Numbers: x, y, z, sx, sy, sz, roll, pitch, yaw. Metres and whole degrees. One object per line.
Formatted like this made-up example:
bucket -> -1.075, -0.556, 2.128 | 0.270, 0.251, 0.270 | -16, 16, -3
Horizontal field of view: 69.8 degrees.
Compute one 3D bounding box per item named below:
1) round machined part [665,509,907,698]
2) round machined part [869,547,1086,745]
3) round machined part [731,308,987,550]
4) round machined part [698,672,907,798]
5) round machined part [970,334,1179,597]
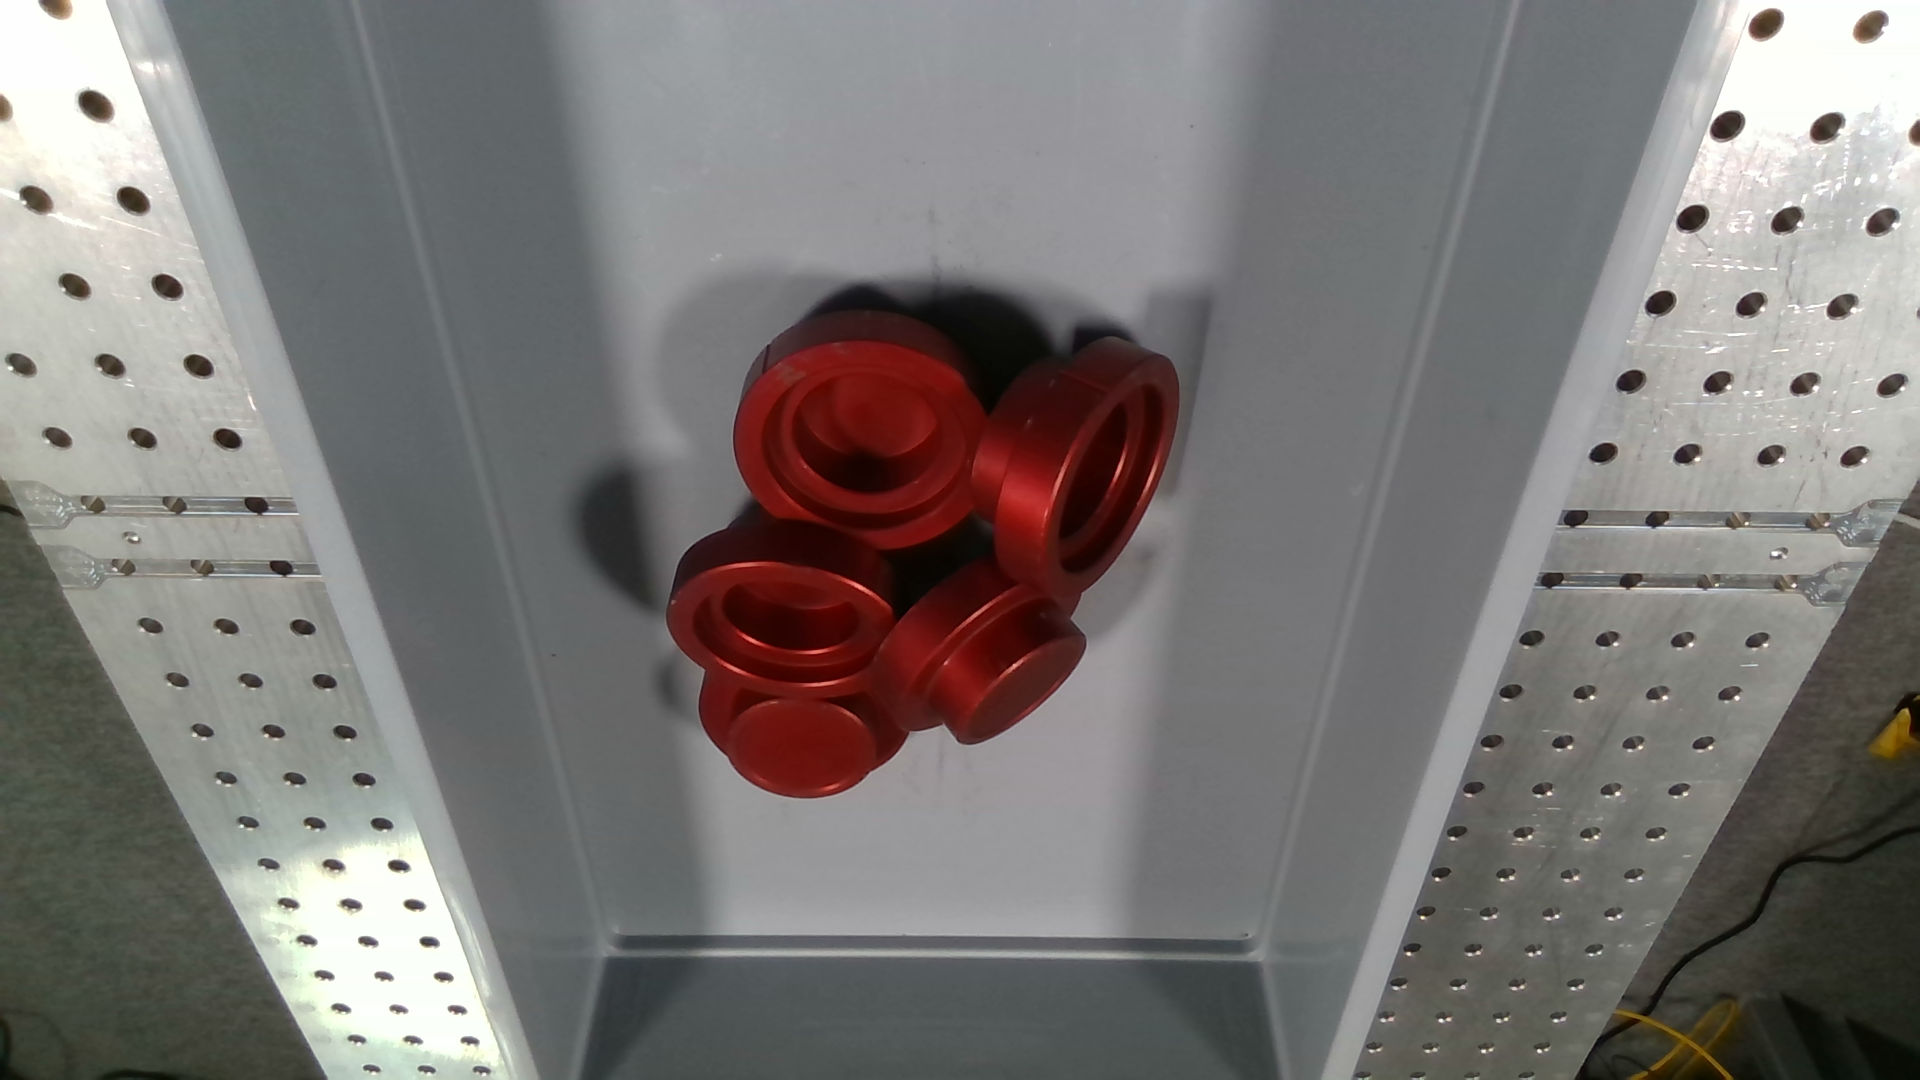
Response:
round machined part -> -0.069, 0.022, 0.570 | 0.098, 0.042, 0.098 | 5, 143, 4
round machined part -> 0.014, 0.047, 0.571 | 0.098, 0.042, 0.098 | -34, 156, -17
round machined part -> -0.036, -0.046, 0.527 | 0.098, 0.042, 0.098 | 0, 130, 0
round machined part -> -0.072, 0.081, 0.634 | 0.098, 0.042, 0.098 | 0, 130, 0
round machined part -> 0.040, -0.031, 0.517 | 0.042, 0.098, 0.098 | 26, 135, 25
